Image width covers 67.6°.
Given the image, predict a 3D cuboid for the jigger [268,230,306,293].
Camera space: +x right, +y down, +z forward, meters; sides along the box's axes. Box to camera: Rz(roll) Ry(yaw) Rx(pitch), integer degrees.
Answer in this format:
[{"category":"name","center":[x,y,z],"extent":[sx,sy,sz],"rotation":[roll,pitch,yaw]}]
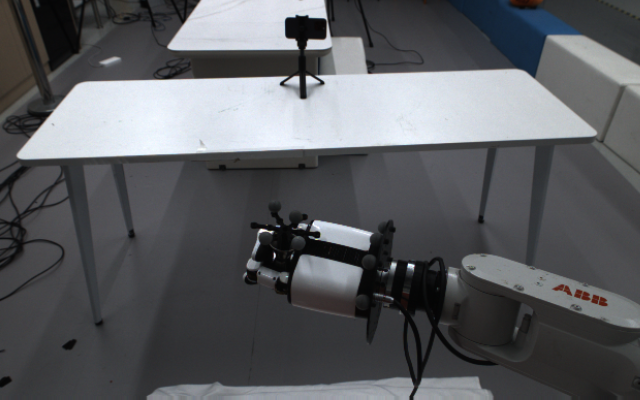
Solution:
[{"category":"jigger","center":[-0.048,0.081,0.642],"extent":[0.043,0.071,0.043],"rotation":[7,32,-4]}]
